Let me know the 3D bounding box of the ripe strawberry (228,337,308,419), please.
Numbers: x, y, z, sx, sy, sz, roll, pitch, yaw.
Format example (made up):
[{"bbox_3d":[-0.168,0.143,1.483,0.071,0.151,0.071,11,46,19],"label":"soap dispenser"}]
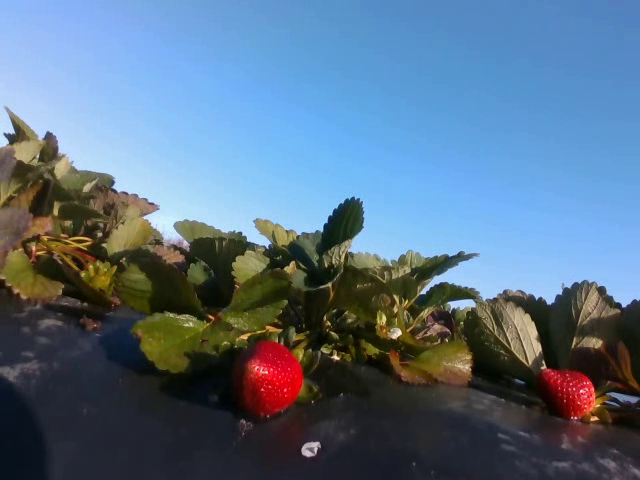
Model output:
[{"bbox_3d":[-0.028,0.067,0.303,0.045,0.042,0.055,25,-13,13],"label":"ripe strawberry"}]

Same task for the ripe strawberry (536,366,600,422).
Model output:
[{"bbox_3d":[0.148,0.090,0.370,0.046,0.036,0.035,26,17,4],"label":"ripe strawberry"}]
